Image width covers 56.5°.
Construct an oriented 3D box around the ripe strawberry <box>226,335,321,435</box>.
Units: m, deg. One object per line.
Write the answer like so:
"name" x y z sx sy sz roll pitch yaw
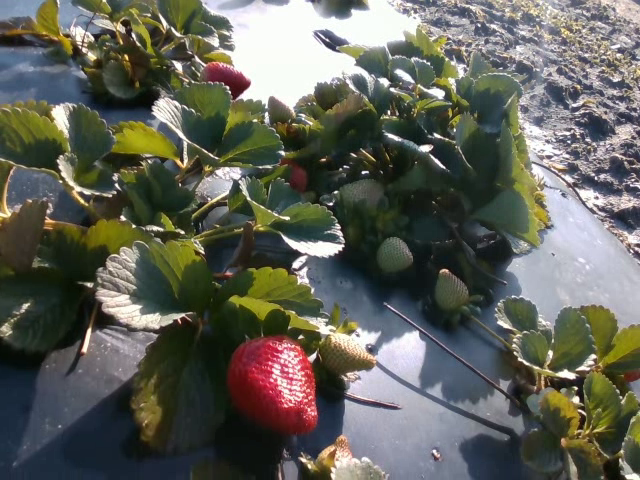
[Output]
"ripe strawberry" -0.021 0.074 0.295 0.055 0.056 0.072 52 -7 -35
